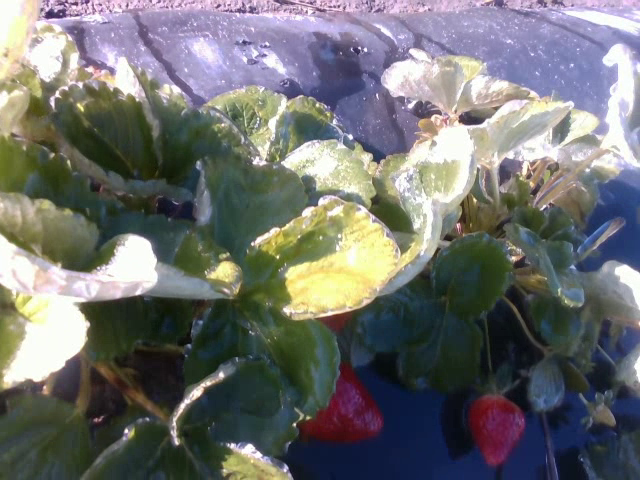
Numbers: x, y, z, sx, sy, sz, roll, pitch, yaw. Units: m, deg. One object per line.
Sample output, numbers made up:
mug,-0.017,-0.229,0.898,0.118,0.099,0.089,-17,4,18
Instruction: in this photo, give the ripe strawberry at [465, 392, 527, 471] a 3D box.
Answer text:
ripe strawberry,0.104,0.112,0.341,0.039,0.047,0.040,27,-23,-27

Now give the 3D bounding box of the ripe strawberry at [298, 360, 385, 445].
ripe strawberry,0.017,0.092,0.309,0.056,0.044,0.040,39,-17,-24
